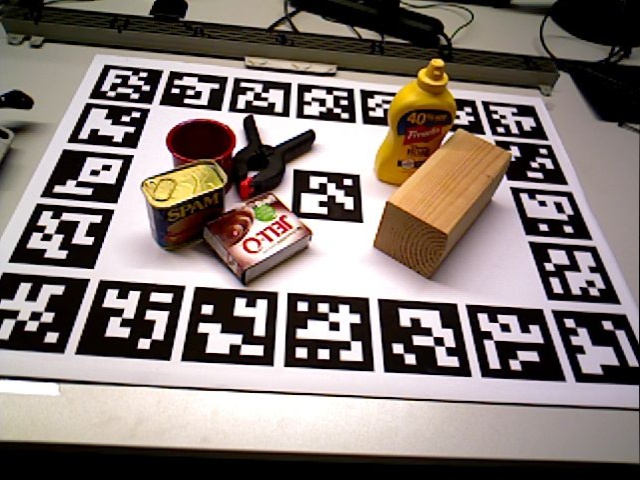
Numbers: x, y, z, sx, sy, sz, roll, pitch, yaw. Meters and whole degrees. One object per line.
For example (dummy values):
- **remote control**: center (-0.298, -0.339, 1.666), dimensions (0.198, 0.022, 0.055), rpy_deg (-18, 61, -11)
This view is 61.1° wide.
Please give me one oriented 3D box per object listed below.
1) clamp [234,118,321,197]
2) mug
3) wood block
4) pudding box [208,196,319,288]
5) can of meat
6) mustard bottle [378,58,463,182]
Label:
- **clamp**: center (-0.078, -0.127, 0.798), dimensions (0.121, 0.037, 0.161), rpy_deg (20, 53, 6)
- **mug**: center (-0.158, -0.106, 0.764), dimensions (0.093, 0.083, 0.114), rpy_deg (21, 53, 9)
- **wood block**: center (0.178, -0.049, 0.731), dimensions (0.090, 0.093, 0.201), rpy_deg (32, 52, 20)
- **pudding box**: center (-0.072, -0.001, 0.689), dimensions (0.111, 0.039, 0.090), rpy_deg (-29, 61, -29)
- **can of meat**: center (-0.165, -0.043, 0.674), dimensions (0.100, 0.086, 0.057), rpy_deg (-21, 58, -23)
- **mustard bottle**: center (0.144, -0.167, 0.750), dimensions (0.095, 0.196, 0.057), rpy_deg (0, 51, -7)
